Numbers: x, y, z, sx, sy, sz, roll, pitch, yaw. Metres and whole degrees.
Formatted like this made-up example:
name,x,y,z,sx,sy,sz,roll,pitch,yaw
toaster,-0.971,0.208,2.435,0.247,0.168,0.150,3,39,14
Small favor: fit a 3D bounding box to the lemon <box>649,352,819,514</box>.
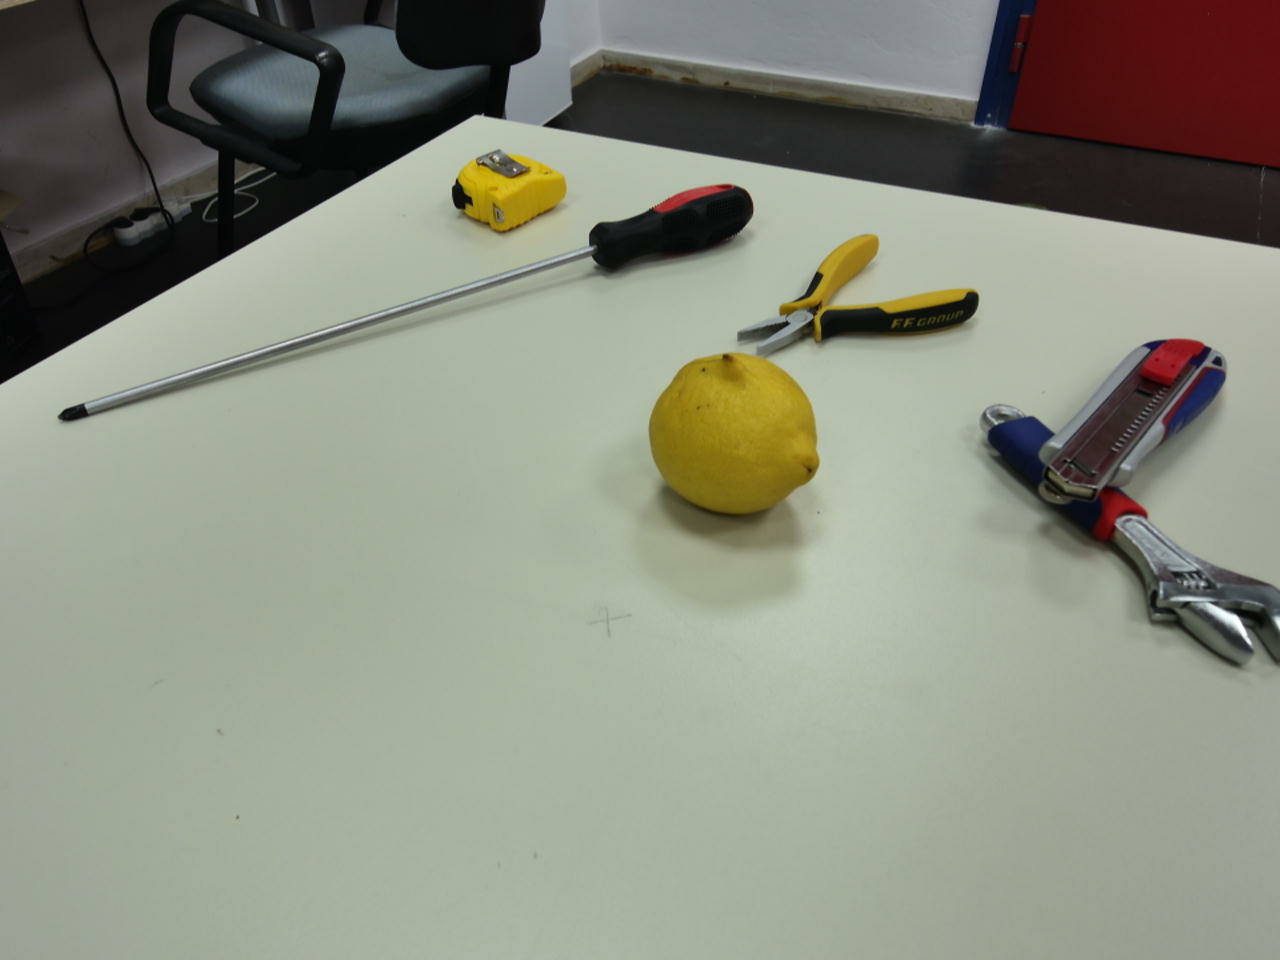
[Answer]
name,x,y,z,sx,sy,sz,roll,pitch,yaw
lemon,0.040,-0.023,0.427,0.070,0.071,0.071,-3,38,-5
